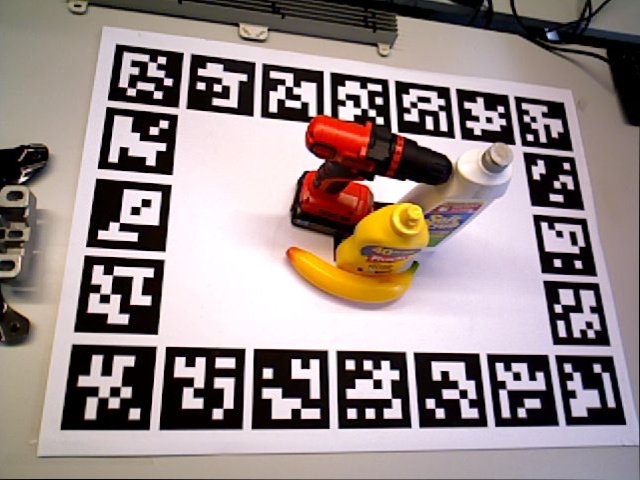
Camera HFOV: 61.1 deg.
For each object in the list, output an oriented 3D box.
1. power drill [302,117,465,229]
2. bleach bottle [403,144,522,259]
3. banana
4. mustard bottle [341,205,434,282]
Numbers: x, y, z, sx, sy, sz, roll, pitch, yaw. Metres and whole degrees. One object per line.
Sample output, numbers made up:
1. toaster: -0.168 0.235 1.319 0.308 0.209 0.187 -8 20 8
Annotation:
1. power drill: 0.061 -0.076 0.683 0.183 0.190 0.056 17 66 -9
2. bleach bottle: 0.169 -0.056 0.696 0.102 0.256 0.067 7 63 -11
3. banana: 0.056 0.057 0.753 0.196 0.039 0.073 9 71 -7
4. mustard bottle: 0.096 0.001 0.687 0.095 0.195 0.058 5 69 -13
